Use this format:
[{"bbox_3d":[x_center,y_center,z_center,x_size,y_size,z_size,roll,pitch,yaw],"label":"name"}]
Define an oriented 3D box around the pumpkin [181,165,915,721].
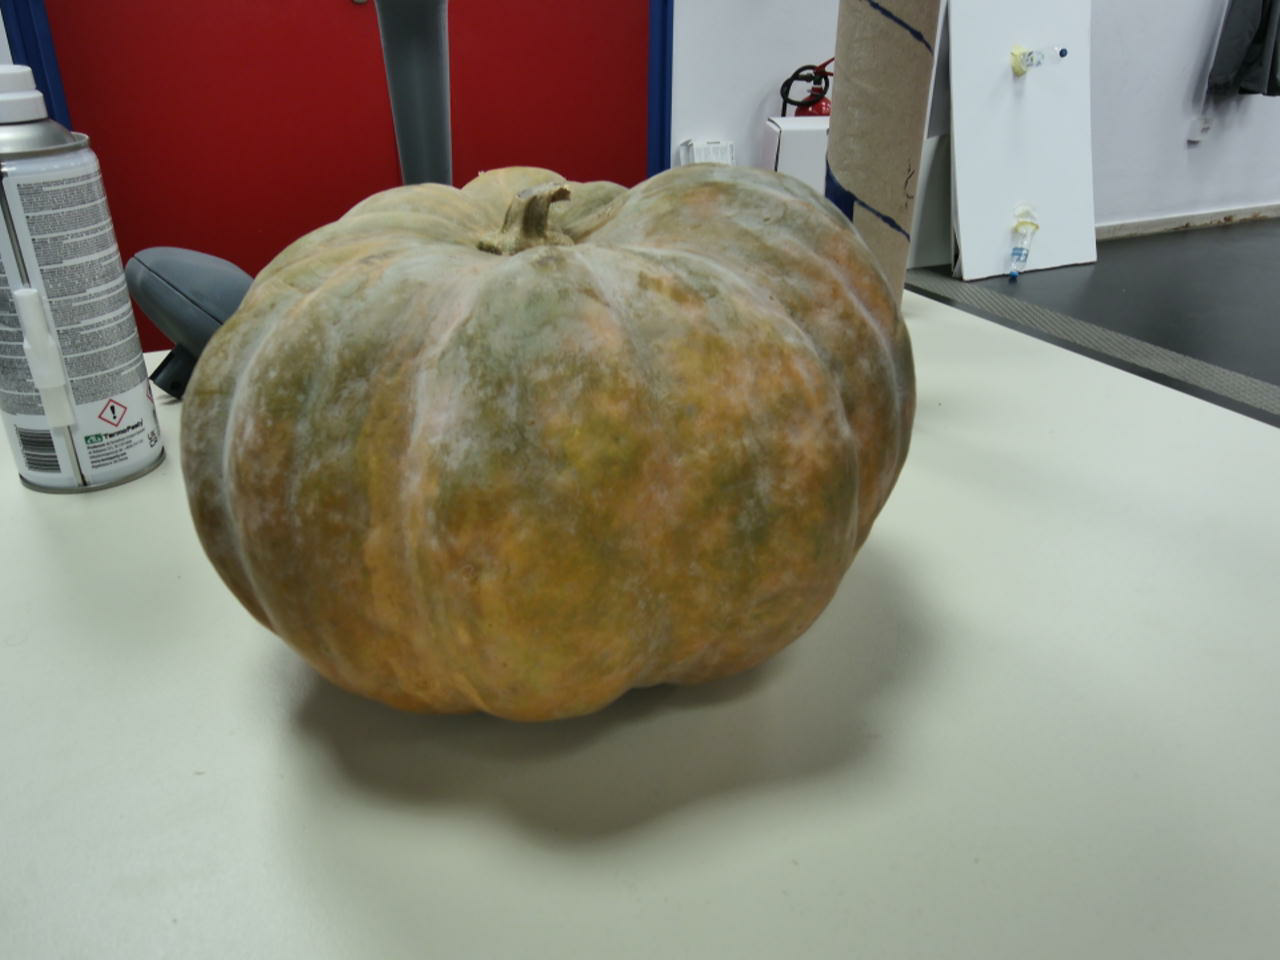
[{"bbox_3d":[-0.032,-0.023,0.359,0.252,0.169,0.251,0,24,0],"label":"pumpkin"}]
